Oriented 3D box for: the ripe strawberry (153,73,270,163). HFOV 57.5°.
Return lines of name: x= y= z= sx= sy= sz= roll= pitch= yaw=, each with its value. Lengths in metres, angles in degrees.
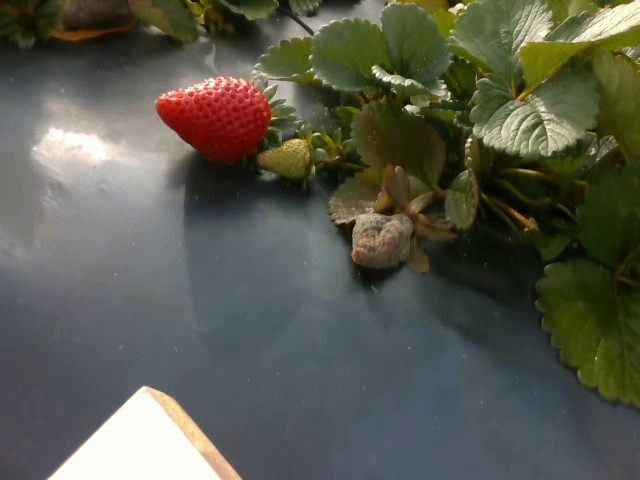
ripe strawberry: x=-0.048 y=-0.054 z=0.248 sx=0.045 sy=0.051 sz=0.057 roll=45 pitch=30 yaw=25
